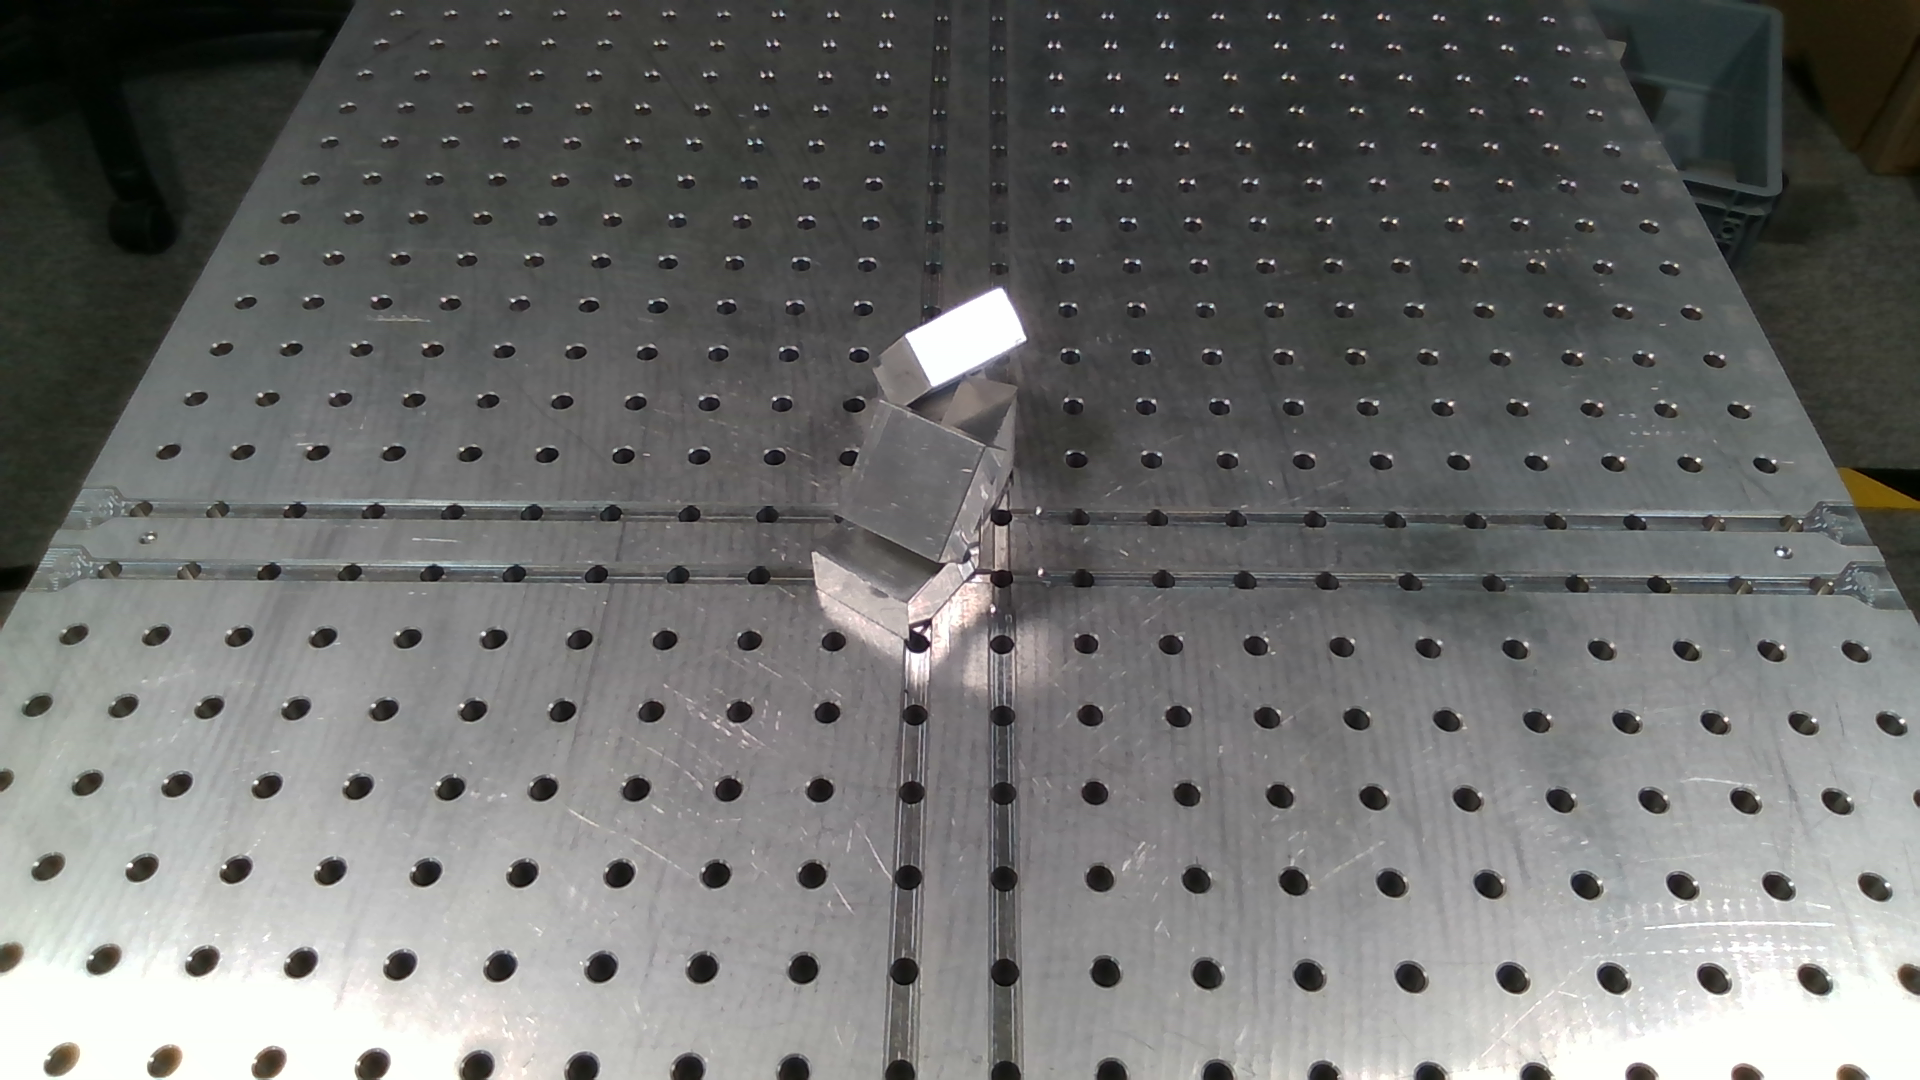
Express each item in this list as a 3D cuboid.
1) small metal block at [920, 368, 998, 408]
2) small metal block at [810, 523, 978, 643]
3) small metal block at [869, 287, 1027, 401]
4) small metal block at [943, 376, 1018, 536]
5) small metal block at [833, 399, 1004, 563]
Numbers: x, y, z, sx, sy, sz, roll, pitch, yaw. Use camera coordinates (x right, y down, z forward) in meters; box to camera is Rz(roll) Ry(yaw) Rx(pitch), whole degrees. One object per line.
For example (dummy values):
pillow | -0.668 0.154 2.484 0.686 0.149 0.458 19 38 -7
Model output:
small metal block | -0.008 -0.066 0.646 0.050 0.025 0.050 -15 52 -12
small metal block | -0.027 0.008 0.584 0.050 0.025 0.050 29 56 22
small metal block | -0.006 -0.083 0.607 0.050 0.050 0.025 -30 94 -22
small metal block | 0.005 -0.036 0.604 0.025 0.050 0.050 15 52 12
small metal block | -0.016 -0.024 0.559 0.050 0.025 0.050 25 99 19
